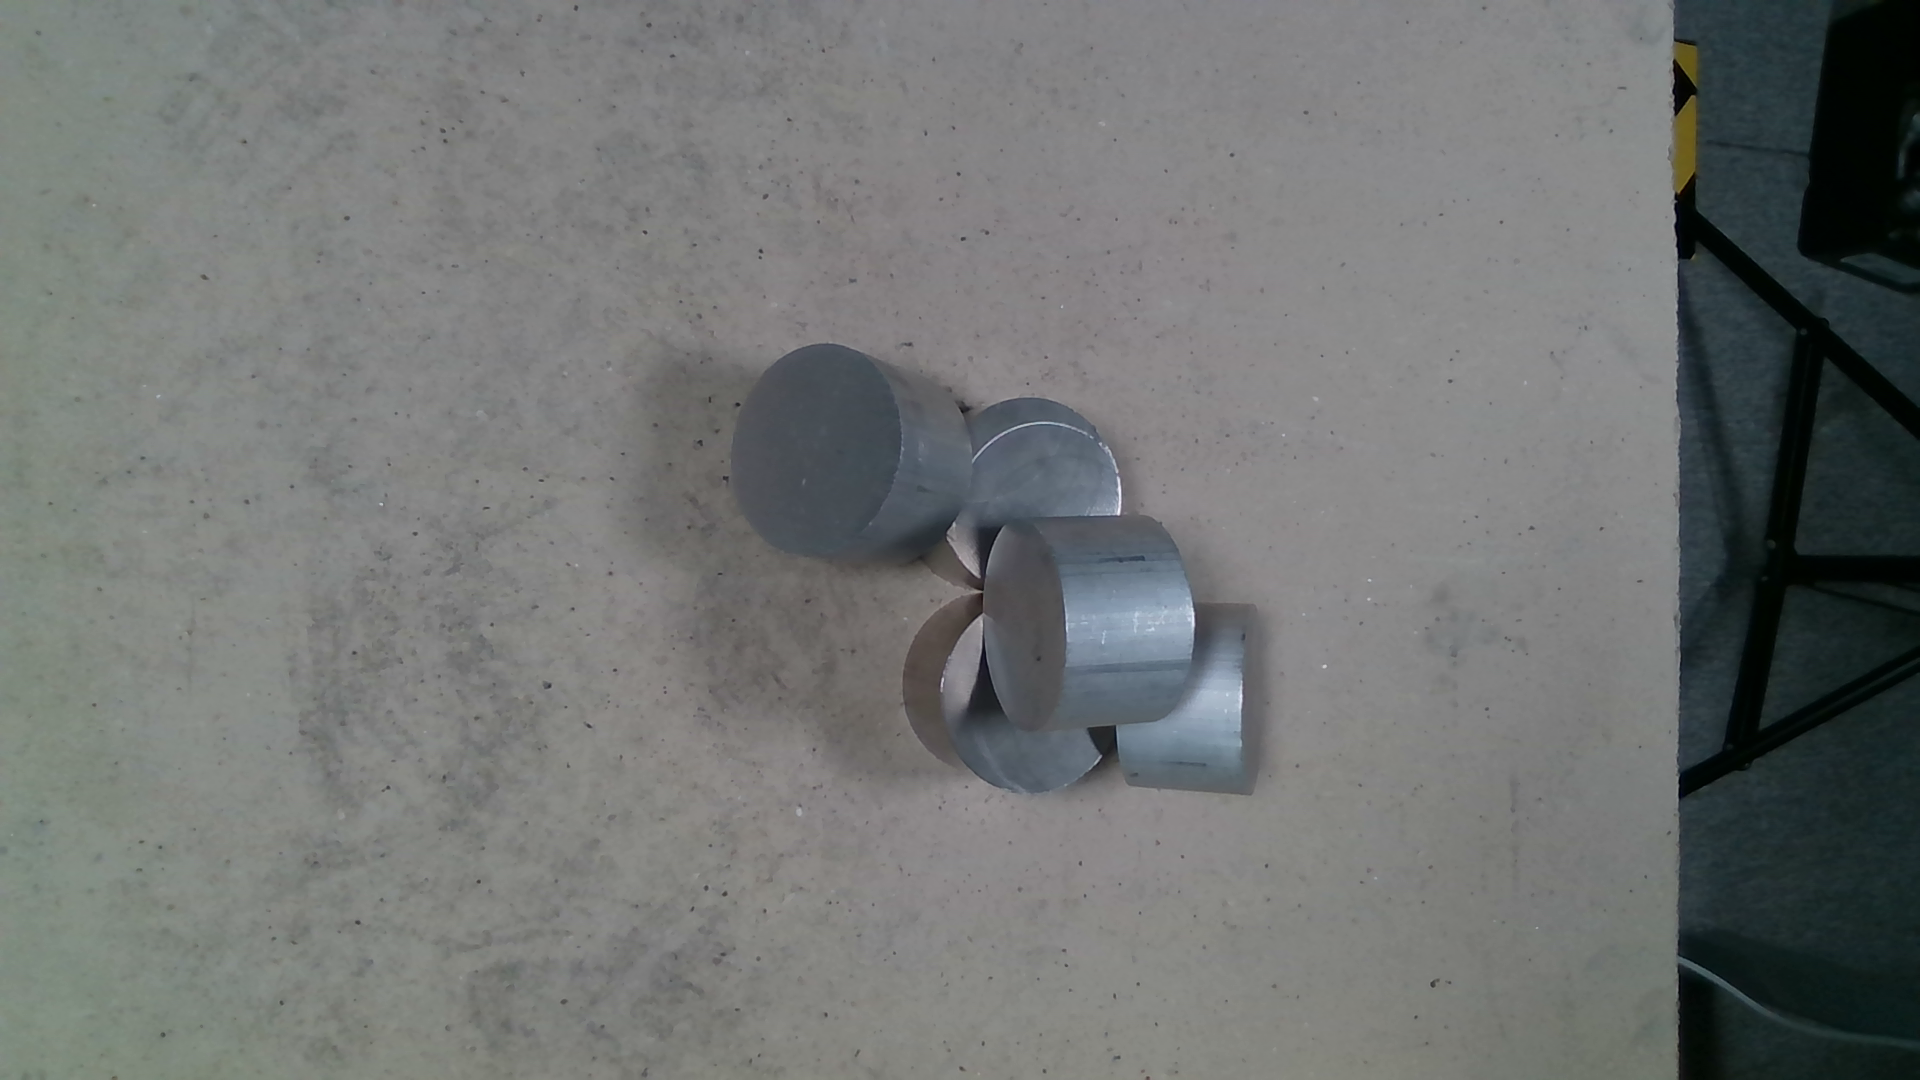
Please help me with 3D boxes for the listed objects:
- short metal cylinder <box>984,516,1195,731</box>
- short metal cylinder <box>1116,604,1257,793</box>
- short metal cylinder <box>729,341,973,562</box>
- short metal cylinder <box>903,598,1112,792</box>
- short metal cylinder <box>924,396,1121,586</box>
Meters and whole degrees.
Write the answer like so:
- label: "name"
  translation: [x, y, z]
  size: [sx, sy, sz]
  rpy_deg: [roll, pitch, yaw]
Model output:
- label: "short metal cylinder"
  translation: [0.047, 0.030, 0.521]
  size: [0.050, 0.080, 0.080]
  rpy_deg: [-2, 91, -20]
- label: "short metal cylinder"
  translation: [0.099, 0.066, 0.586]
  size: [0.050, 0.080, 0.080]
  rpy_deg: [0, 90, 18]
- label: "short metal cylinder"
  translation: [-0.042, -0.032, 0.534]
  size: [0.050, 0.080, 0.080]
  rpy_deg: [11, 85, -59]
- label: "short metal cylinder"
  translation: [0.022, 0.062, 0.580]
  size: [0.080, 0.050, 0.080]
  rpy_deg: [0, 90, -20]
- label: "short metal cylinder"
  translation: [0.020, -0.018, 0.580]
  size: [0.080, 0.050, 0.080]
  rpy_deg: [0, 90, -20]
